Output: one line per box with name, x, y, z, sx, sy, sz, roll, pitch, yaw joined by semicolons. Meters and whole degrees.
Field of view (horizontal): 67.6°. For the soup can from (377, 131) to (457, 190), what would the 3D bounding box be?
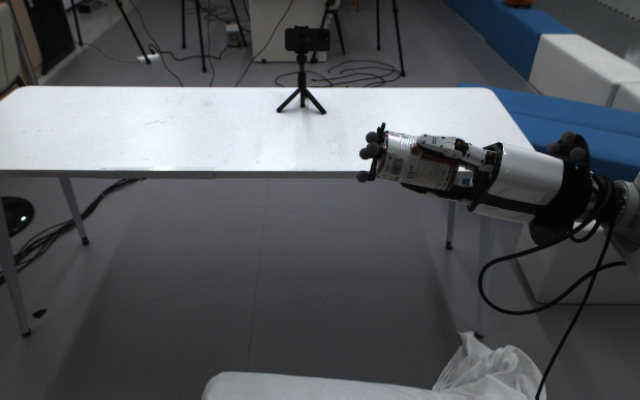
soup can;0.134;-0.055;0.668;0.101;0.067;0.067;11;35;-2
